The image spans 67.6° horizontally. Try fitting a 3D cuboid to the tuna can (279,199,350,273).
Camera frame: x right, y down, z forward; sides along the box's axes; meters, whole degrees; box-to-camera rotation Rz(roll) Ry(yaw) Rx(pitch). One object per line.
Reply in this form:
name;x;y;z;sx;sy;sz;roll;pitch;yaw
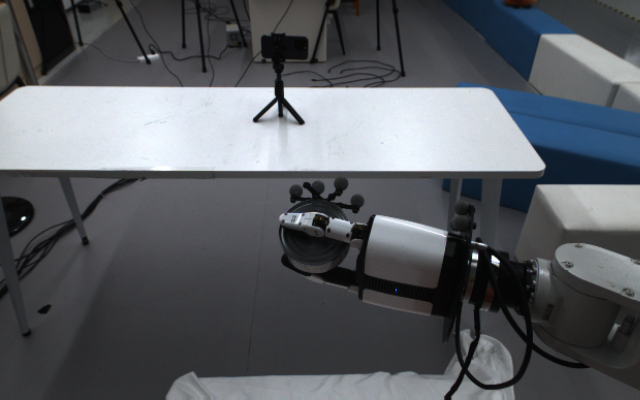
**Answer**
tuna can;-0.005;0.040;0.582;0.085;0.034;0.085;-2;56;4
